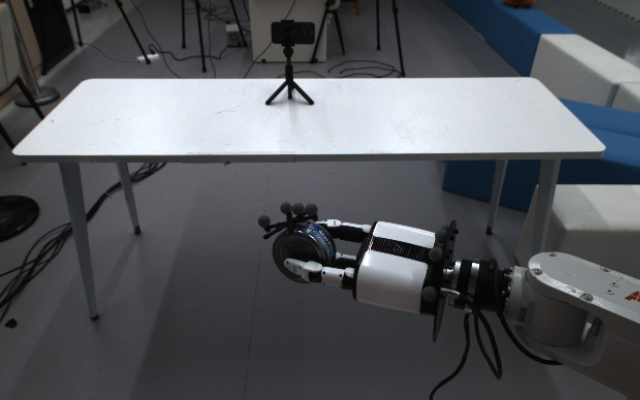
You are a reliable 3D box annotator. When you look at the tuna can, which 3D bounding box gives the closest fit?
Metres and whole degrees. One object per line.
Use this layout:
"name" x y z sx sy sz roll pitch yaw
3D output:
"tuna can" -0.019 0.079 0.673 0.085 0.085 0.034 15 29 18
